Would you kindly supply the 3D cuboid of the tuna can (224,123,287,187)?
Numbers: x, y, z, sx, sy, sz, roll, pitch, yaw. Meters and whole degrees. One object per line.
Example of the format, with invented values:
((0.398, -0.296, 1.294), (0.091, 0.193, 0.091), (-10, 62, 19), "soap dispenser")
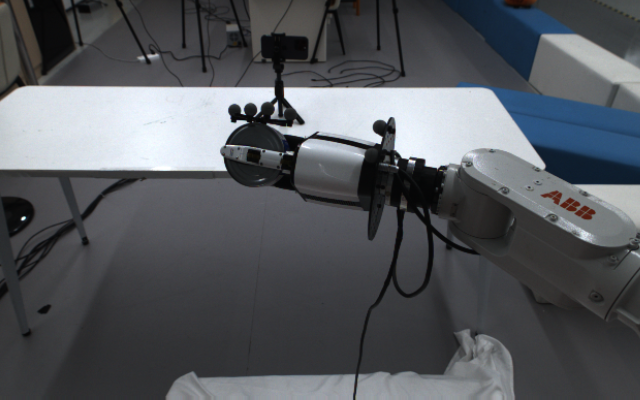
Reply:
((-0.083, -0.060, 0.653), (0.085, 0.085, 0.034), (11, 3, 13), "tuna can")
